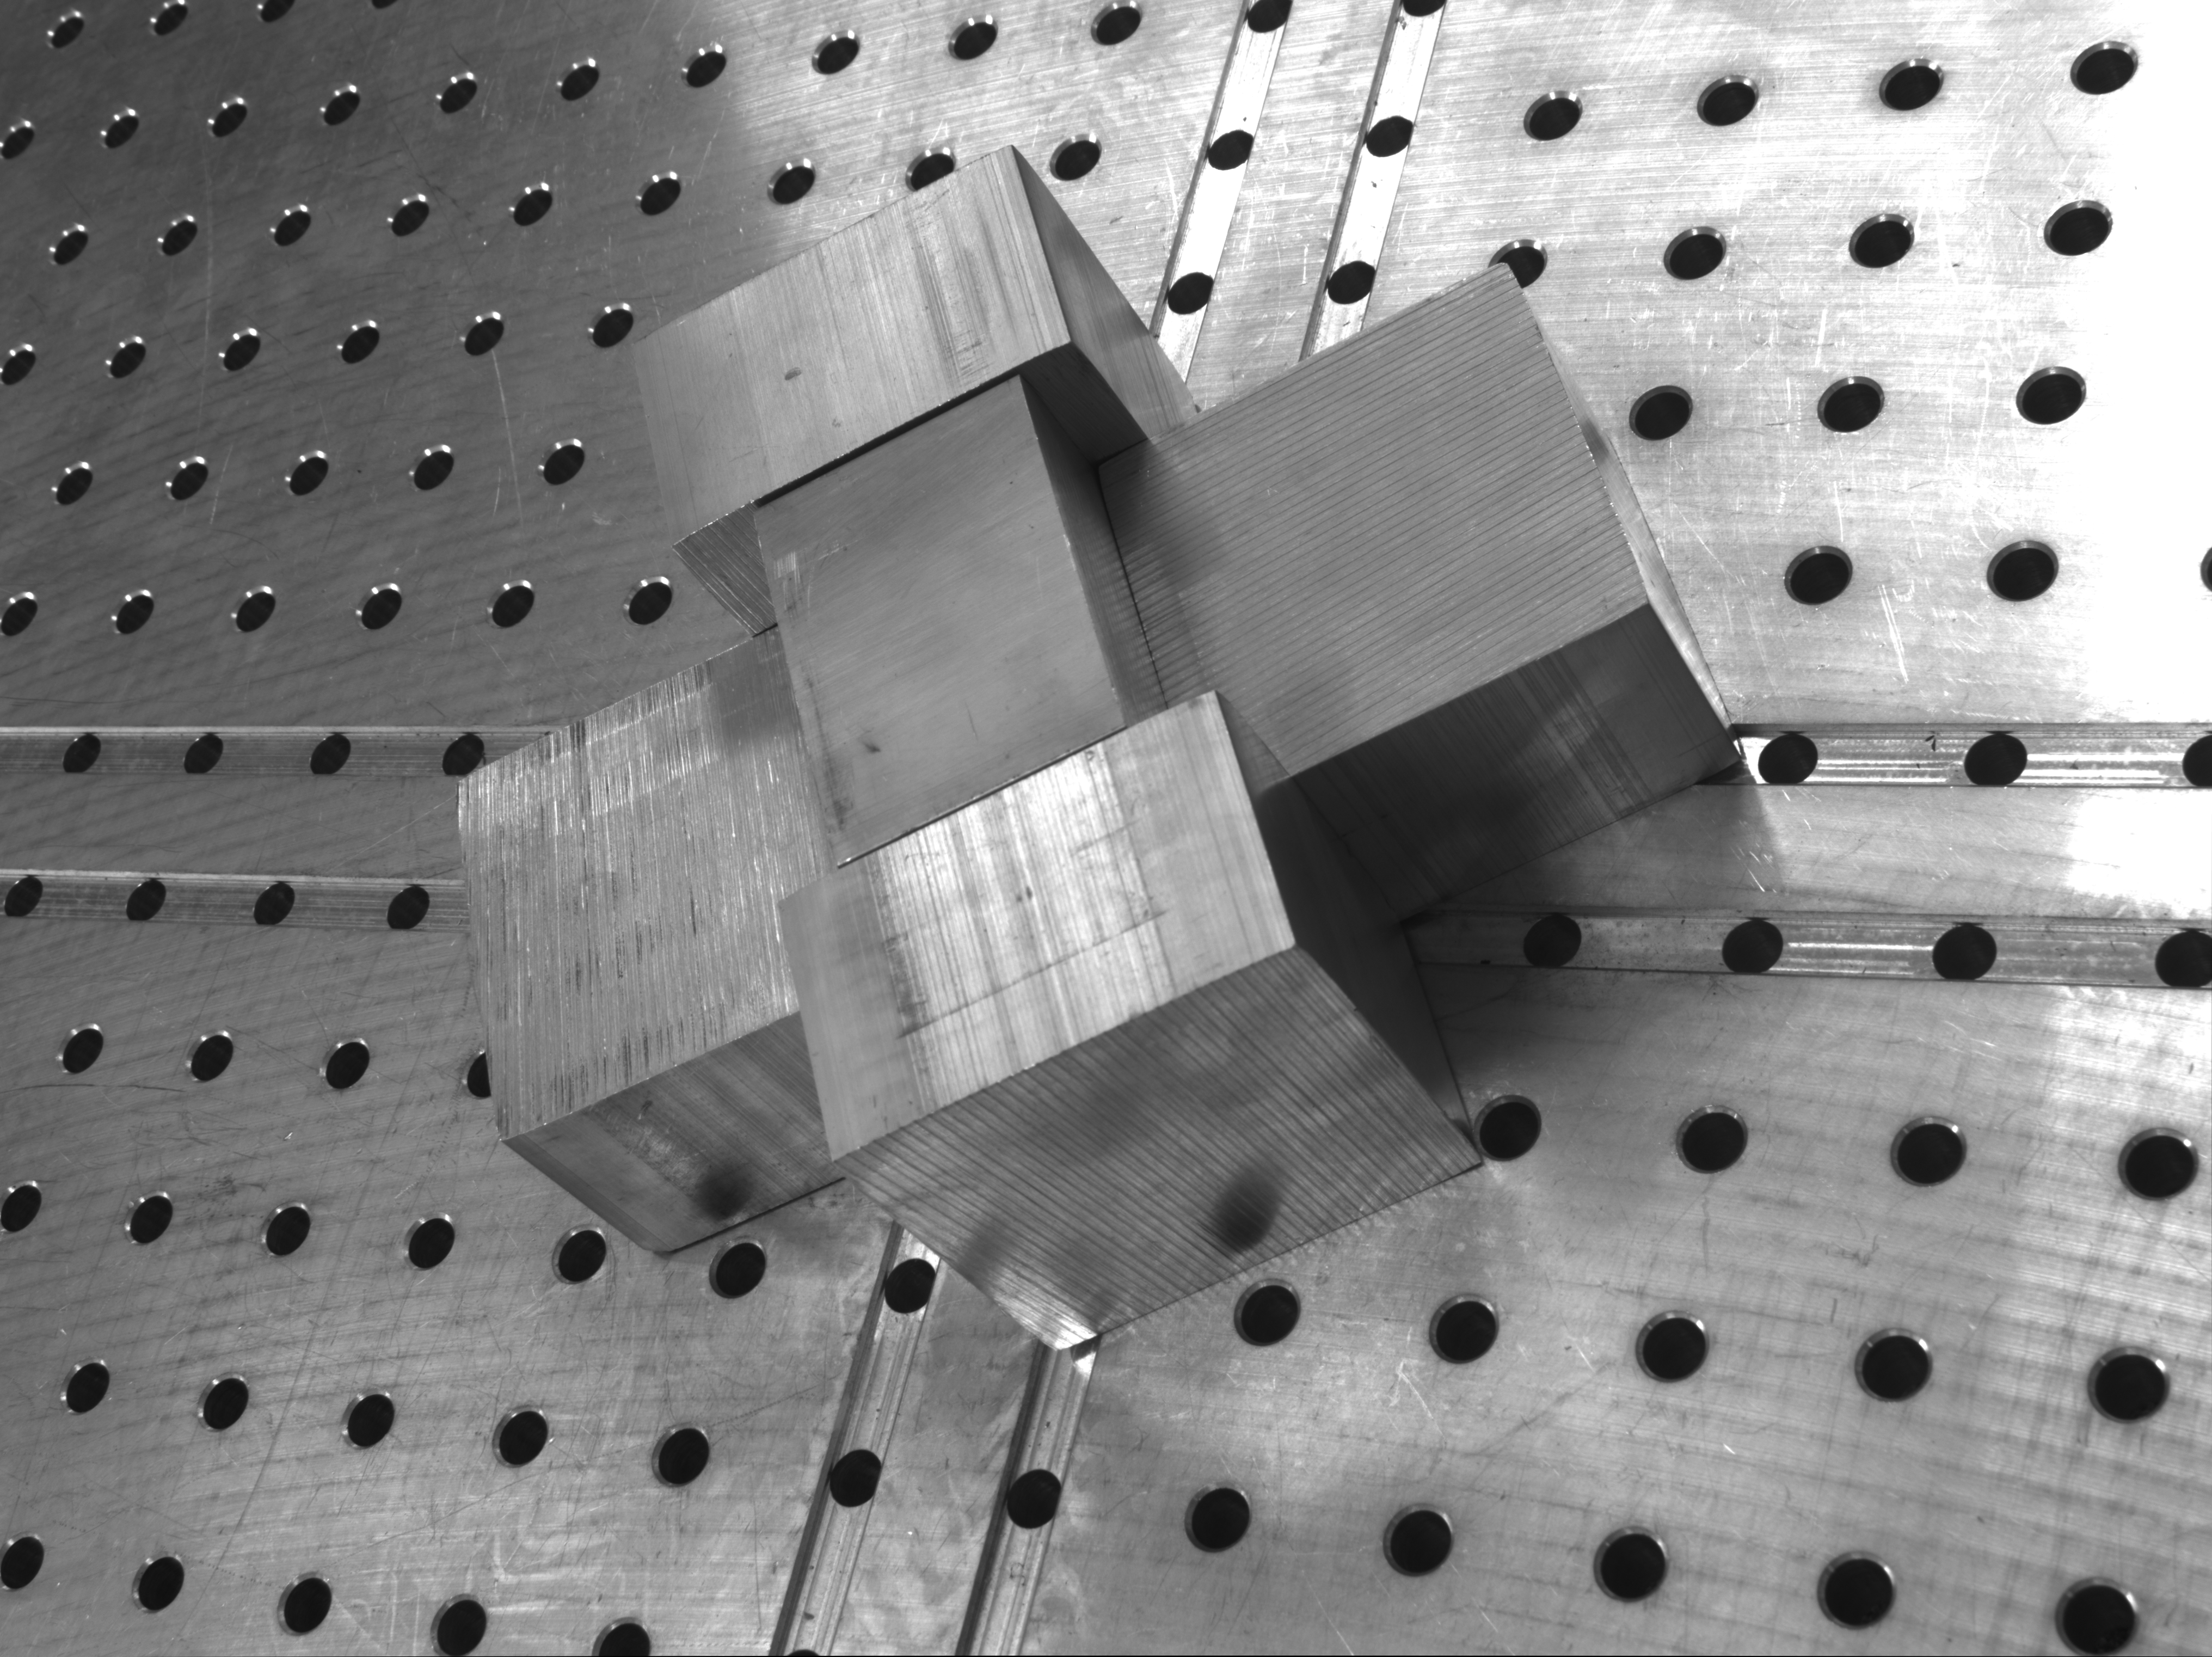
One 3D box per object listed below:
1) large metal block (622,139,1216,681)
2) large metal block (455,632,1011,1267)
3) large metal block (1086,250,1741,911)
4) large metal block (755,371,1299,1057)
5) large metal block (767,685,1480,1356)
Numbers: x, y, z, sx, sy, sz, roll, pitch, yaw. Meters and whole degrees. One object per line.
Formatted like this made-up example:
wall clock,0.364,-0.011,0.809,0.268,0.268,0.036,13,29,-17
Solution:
large metal block,-0.030,-0.066,0.669,0.080,0.080,0.050,-25,52,13
large metal block,-0.065,0.020,0.657,0.080,0.050,0.080,-24,52,14
large metal block,0.052,-0.038,0.627,0.080,0.050,0.080,-26,54,13
large metal block,-0.012,-0.016,0.630,0.050,0.080,0.080,-26,52,13
large metal block,0.004,0.033,0.591,0.080,0.080,0.050,-25,52,12
